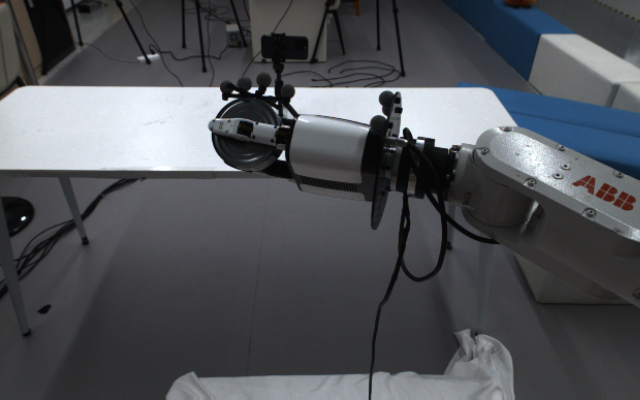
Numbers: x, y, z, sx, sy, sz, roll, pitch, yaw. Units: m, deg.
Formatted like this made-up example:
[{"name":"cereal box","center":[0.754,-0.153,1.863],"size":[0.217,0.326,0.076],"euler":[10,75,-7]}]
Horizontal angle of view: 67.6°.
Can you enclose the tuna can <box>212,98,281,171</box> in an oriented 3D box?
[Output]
[{"name":"tuna can","center":[-0.085,-0.080,0.590],"size":[0.085,0.085,0.034],"euler":[12,-7,13]}]
